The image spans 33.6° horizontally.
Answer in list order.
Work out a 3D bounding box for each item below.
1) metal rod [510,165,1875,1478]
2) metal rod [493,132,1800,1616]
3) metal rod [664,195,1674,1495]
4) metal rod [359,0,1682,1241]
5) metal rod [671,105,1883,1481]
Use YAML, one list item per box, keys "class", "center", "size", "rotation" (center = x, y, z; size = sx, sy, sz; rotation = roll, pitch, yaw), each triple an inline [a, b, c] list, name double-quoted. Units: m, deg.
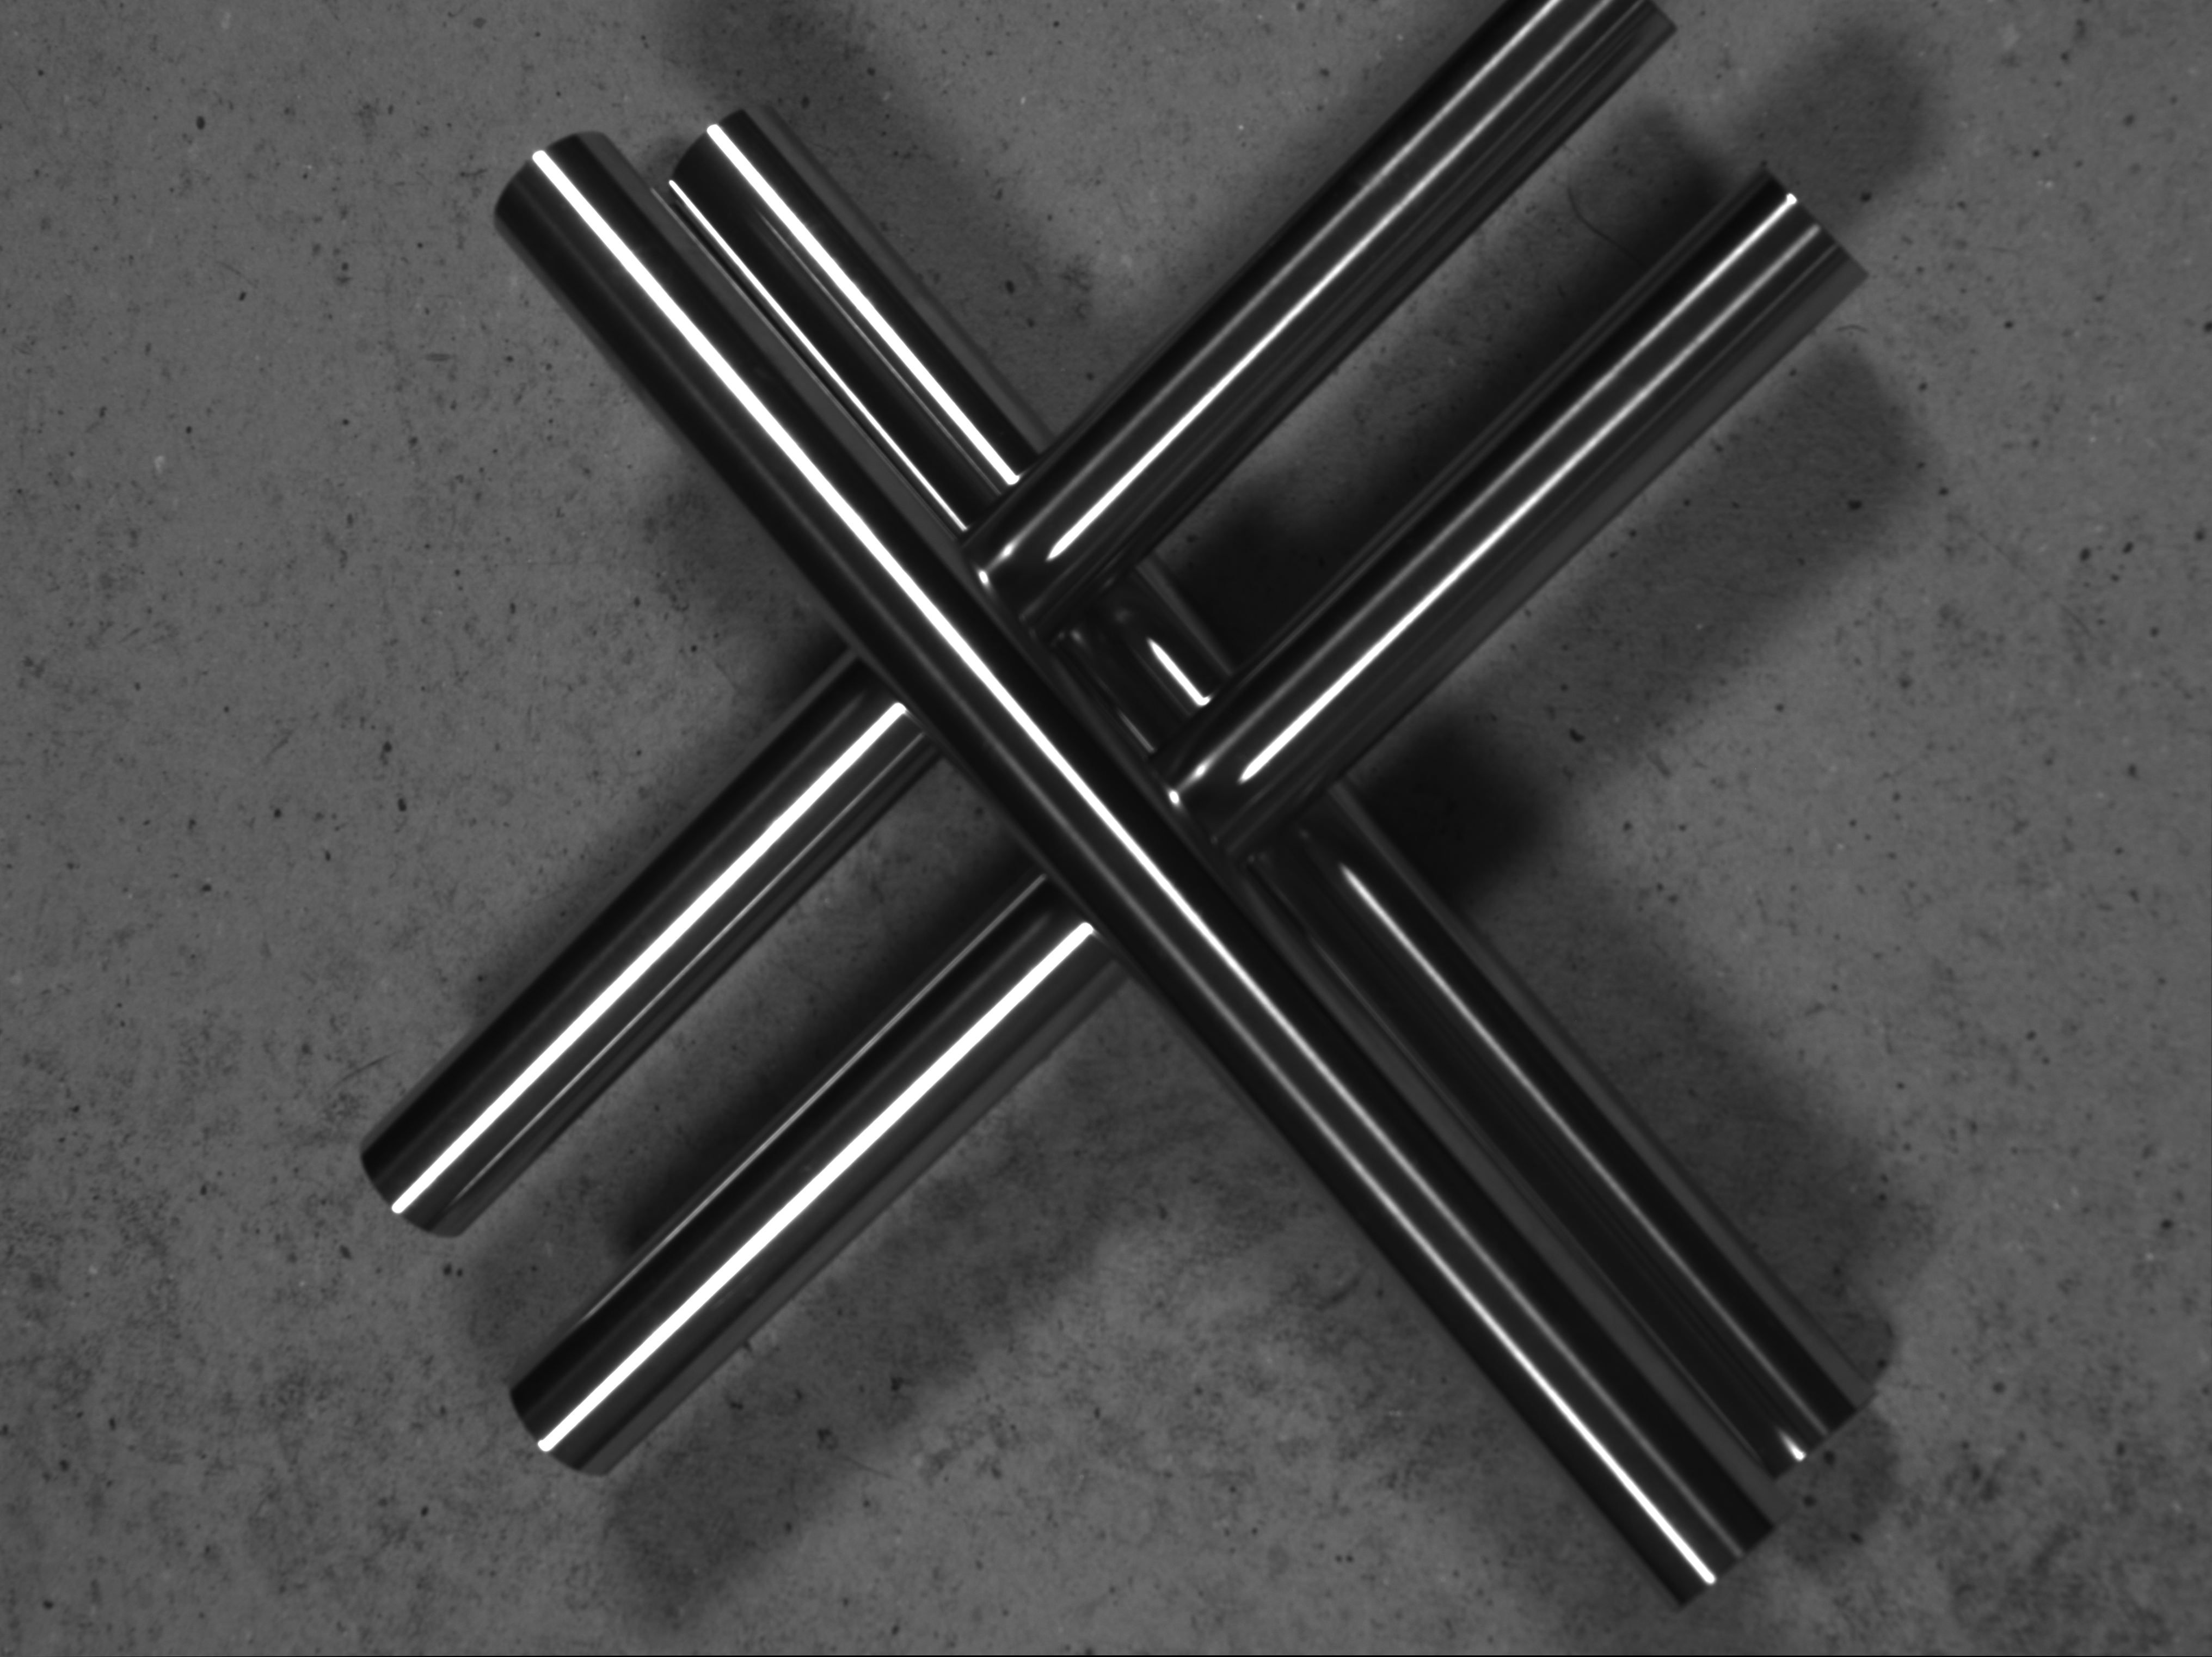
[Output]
- class: "metal rod"
  center: [0.008, 0.005, 0.615]
  size: [0.300, 0.025, 0.025]
  rotation: [-44, 76, 14]
- class: "metal rod"
  center: [0.001, 0.001, 0.591]
  size: [0.025, 0.025, 0.300]
  rotation: [-44, 76, 14]
- class: "metal rod"
  center: [0.005, 0.003, 0.643]
  size: [0.025, 0.025, 0.300]
  rotation: [-43, 77, 15]
- class: "metal rod"
  center: [-0.021, -0.036, 0.625]
  size: [0.300, 0.025, 0.025]
  rotation: [-44, 76, 14]
- class: "metal rod"
  center: [0.024, -0.011, 0.636]
  size: [0.025, 0.025, 0.300]
  rotation: [-43, 77, 15]
